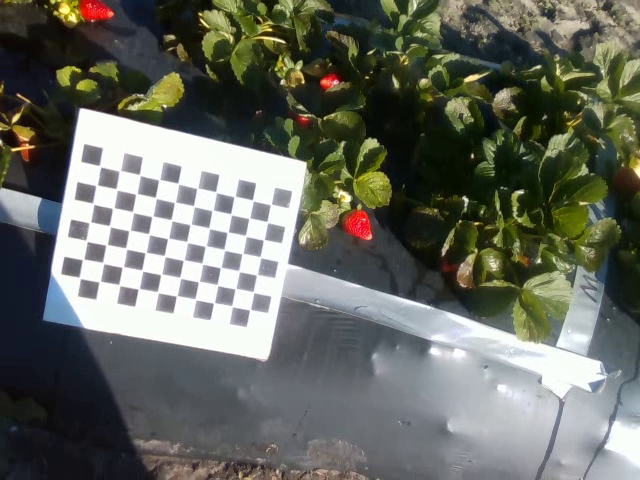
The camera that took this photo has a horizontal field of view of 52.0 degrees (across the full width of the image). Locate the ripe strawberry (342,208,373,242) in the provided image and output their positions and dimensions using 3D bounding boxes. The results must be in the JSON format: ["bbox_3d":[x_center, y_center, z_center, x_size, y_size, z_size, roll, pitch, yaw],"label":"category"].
[{"bbox_3d":[0.056,-0.018,0.932,0.048,0.055,0.029,-34,5,-7],"label":"ripe strawberry"}]

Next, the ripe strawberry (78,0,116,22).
[{"bbox_3d":[-0.356,-0.365,1.036,0.064,0.050,0.052,19,-2,0],"label":"ripe strawberry"}]
